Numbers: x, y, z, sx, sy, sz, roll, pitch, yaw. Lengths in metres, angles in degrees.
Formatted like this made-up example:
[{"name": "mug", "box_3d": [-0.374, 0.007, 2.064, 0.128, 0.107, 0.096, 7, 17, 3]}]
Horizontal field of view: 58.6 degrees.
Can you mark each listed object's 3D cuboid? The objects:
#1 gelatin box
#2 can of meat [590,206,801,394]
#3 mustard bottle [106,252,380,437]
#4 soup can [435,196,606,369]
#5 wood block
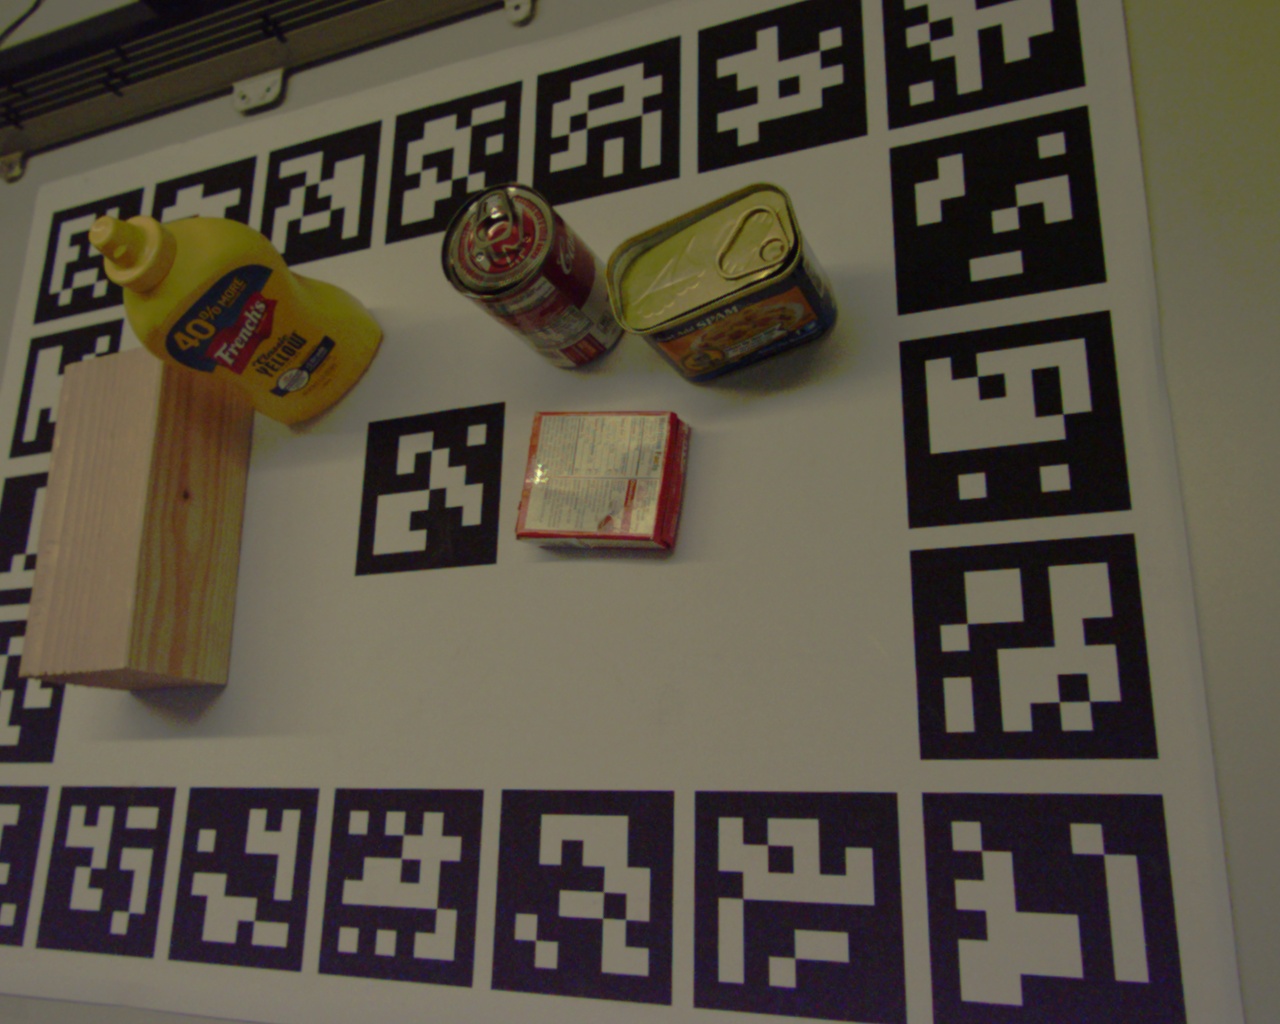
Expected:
[{"name": "gelatin box", "box_3d": [-0.029, -0.010, 0.662, 0.090, 0.030, 0.073, 4, 79, 28]}, {"name": "can of meat", "box_3d": [0.034, -0.114, 0.638, 0.102, 0.083, 0.058, -20, 69, 16]}, {"name": "mustard bottle", "box_3d": [-0.255, -0.111, 0.715, 0.096, 0.189, 0.059, -31, 65, 12]}, {"name": "soup can", "box_3d": [-0.063, -0.130, 0.667, 0.068, 0.101, 0.068, -6, 75, 23]}, {"name": "wood block", "box_3d": [-0.327, 0.012, 0.766, 0.092, 0.089, 0.206, -5, 69, 22]}]
